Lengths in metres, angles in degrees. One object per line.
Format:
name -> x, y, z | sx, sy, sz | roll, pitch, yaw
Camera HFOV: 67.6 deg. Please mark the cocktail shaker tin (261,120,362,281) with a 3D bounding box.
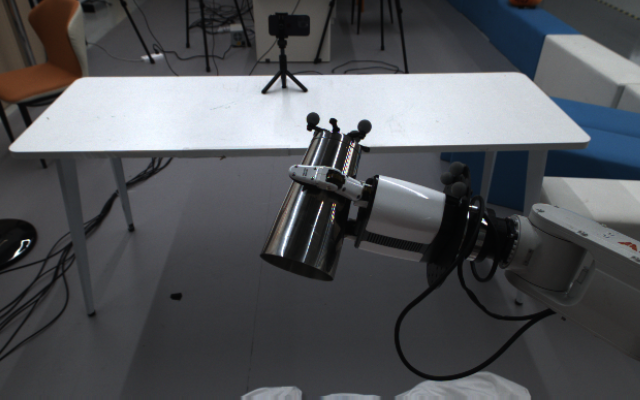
cocktail shaker tin -> -0.004, 0.003, 0.595 | 0.093, 0.093, 0.170 | 13, 70, 15
